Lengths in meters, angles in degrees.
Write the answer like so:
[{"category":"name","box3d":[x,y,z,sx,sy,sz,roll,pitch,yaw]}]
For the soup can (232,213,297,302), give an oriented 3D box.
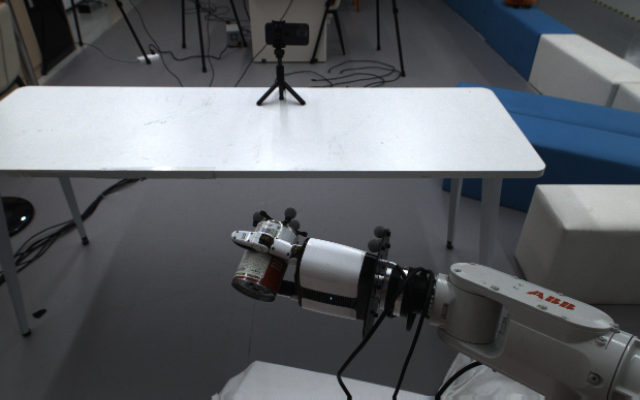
[{"category":"soup can","box3d":[-0.079,0.087,0.704,0.067,0.067,0.101,12,59,14]}]
